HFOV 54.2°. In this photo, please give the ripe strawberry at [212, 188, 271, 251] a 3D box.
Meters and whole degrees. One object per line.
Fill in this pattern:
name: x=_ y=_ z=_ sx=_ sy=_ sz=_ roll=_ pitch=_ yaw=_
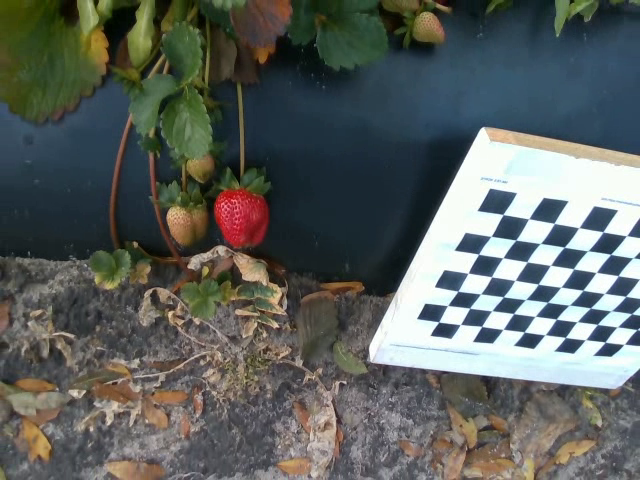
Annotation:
ripe strawberry: x=-0.073 y=-0.014 z=0.551 sx=0.066 sy=0.075 sz=0.053 roll=-6 pitch=44 yaw=0
